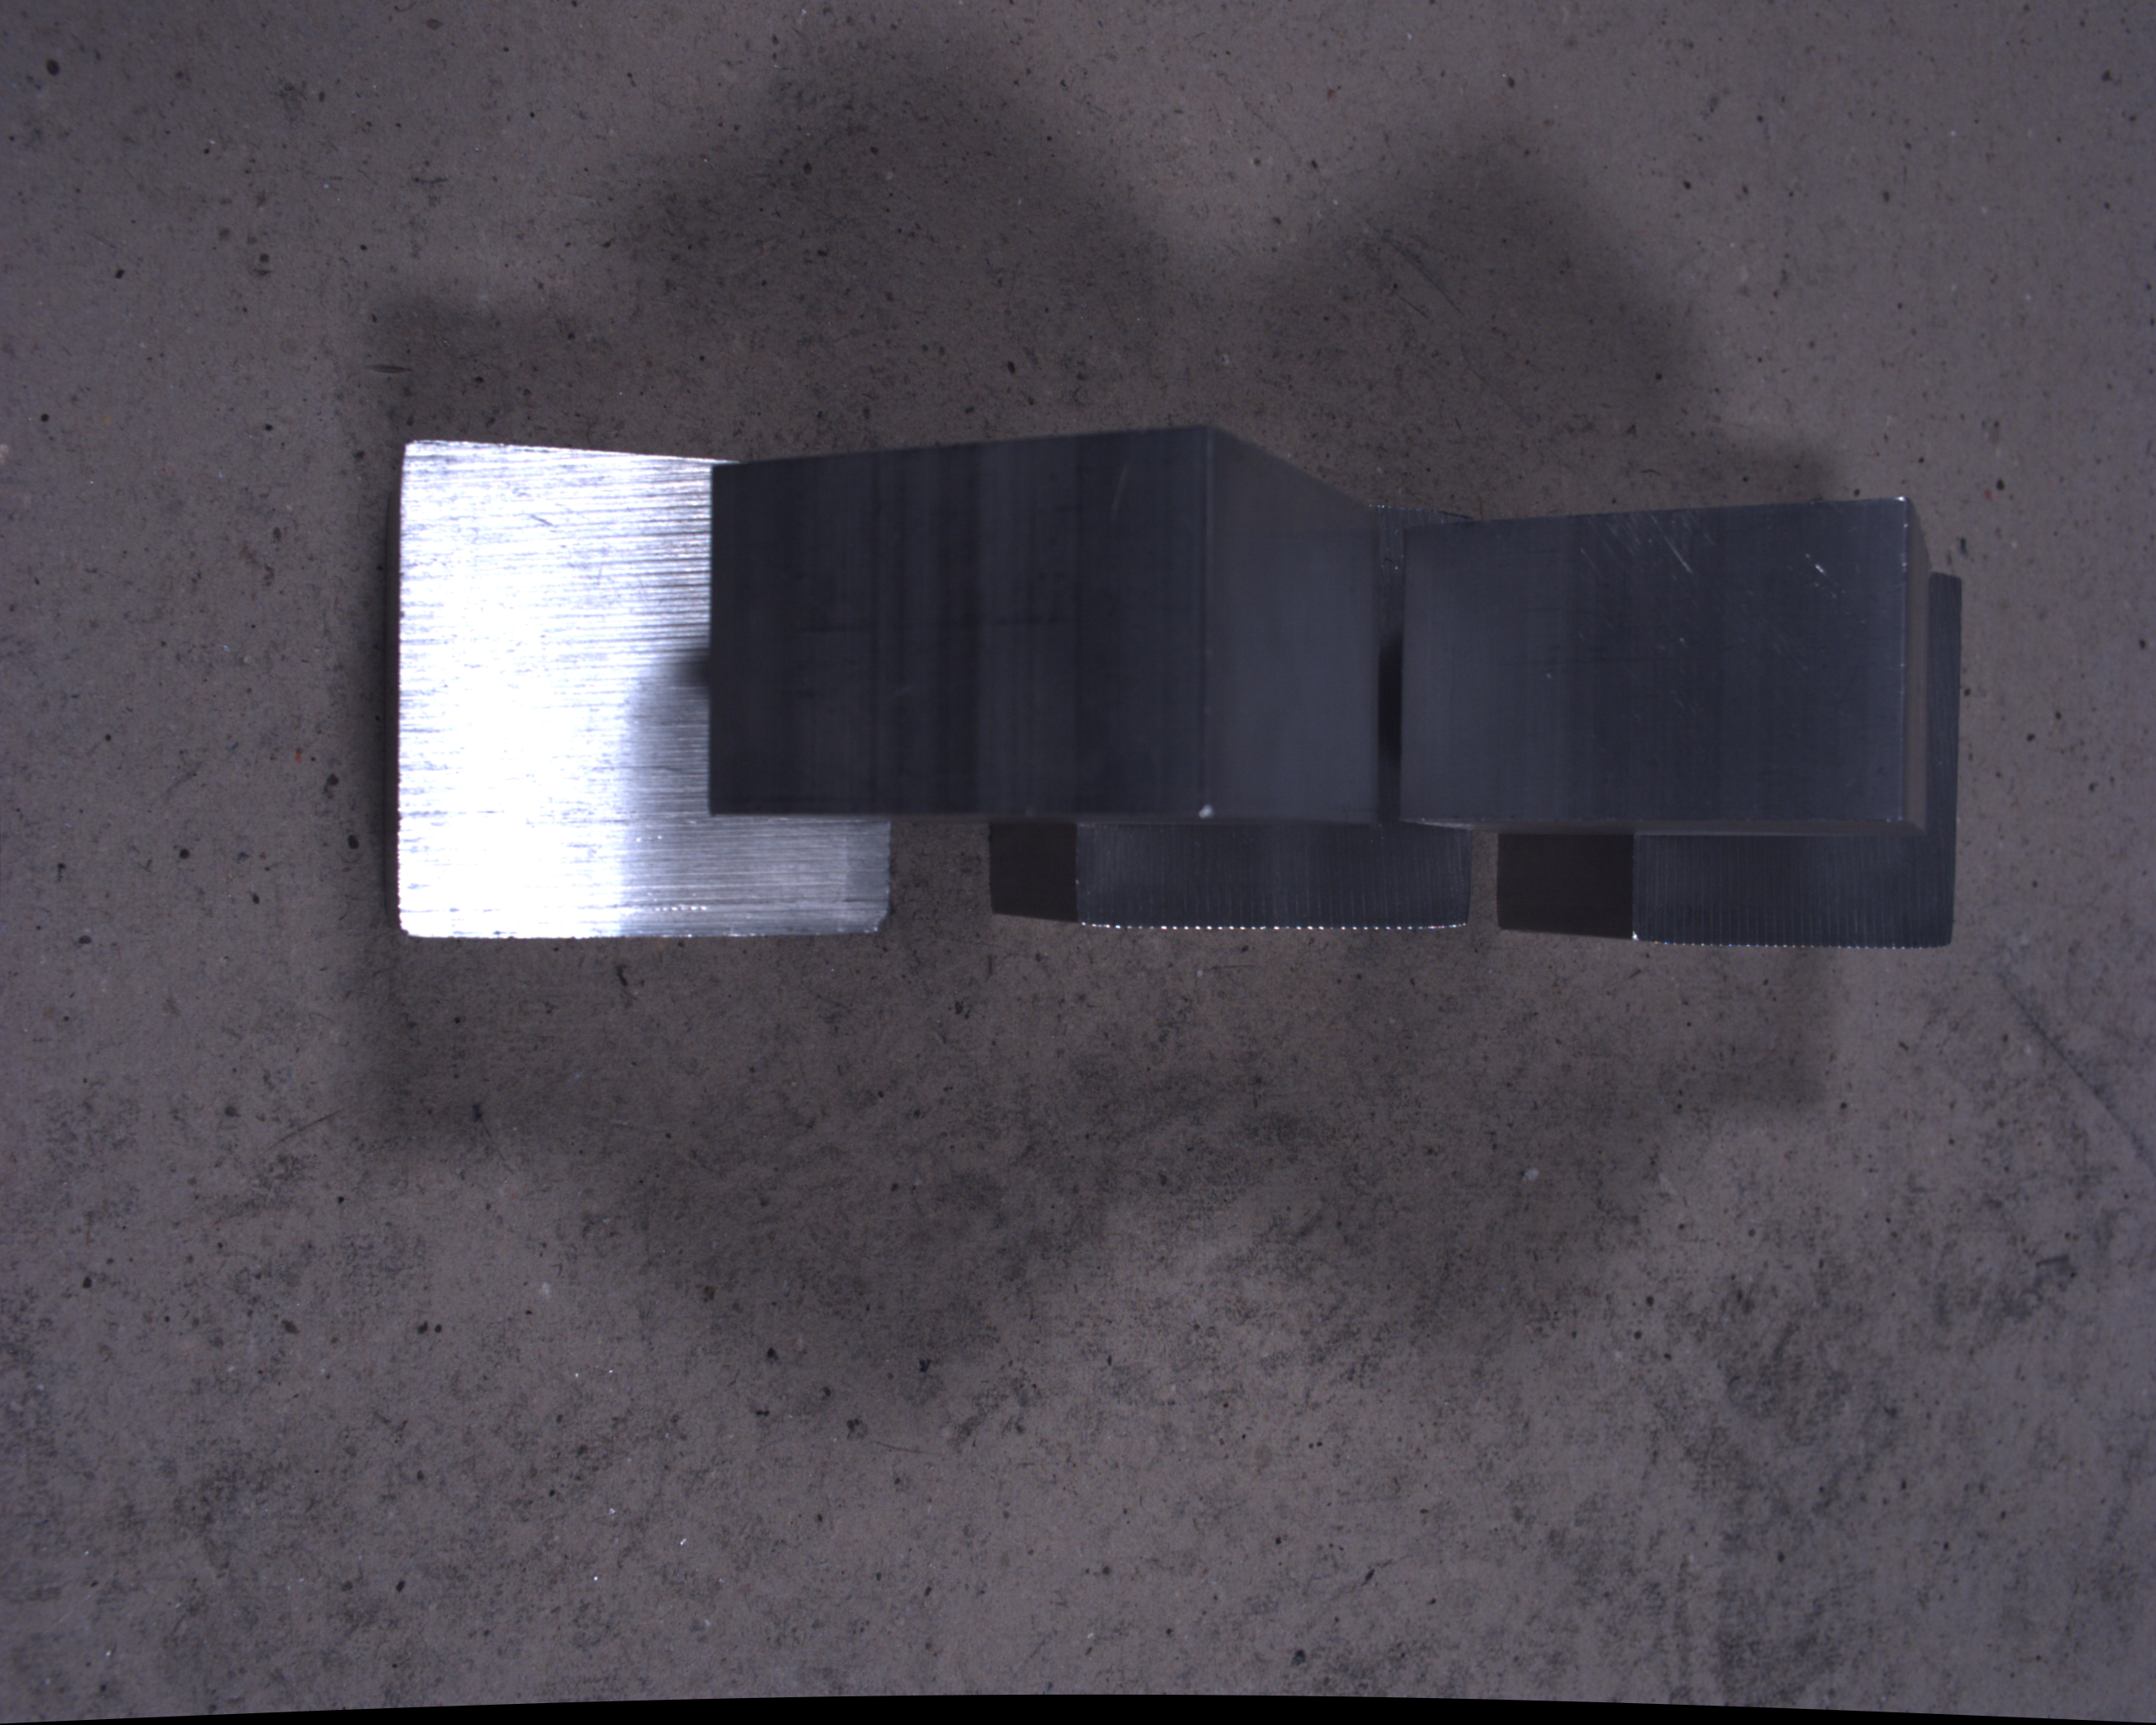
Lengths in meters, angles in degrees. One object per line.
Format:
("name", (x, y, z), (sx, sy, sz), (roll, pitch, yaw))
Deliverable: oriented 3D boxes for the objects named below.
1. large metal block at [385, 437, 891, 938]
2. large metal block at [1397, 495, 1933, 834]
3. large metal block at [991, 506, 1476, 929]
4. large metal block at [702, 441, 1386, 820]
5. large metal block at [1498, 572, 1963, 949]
("large metal block", (-0.079, -0.028, 0.369), (0.081, 0.050, 0.079), (0, 90, -21))
("large metal block", (0.107, -0.031, 0.371), (0.080, 0.080, 0.050), (1, 89, 24))
("large metal block", (0.030, -0.028, 0.409), (0.081, 0.050, 0.079), (1, 90, -21))
("large metal block", (-0.002, -0.032, 0.328), (0.080, 0.080, 0.050), (-2, 92, -66))
("large metal block", (0.140, -0.023, 0.451), (0.081, 0.050, 0.079), (2, 90, -21))
